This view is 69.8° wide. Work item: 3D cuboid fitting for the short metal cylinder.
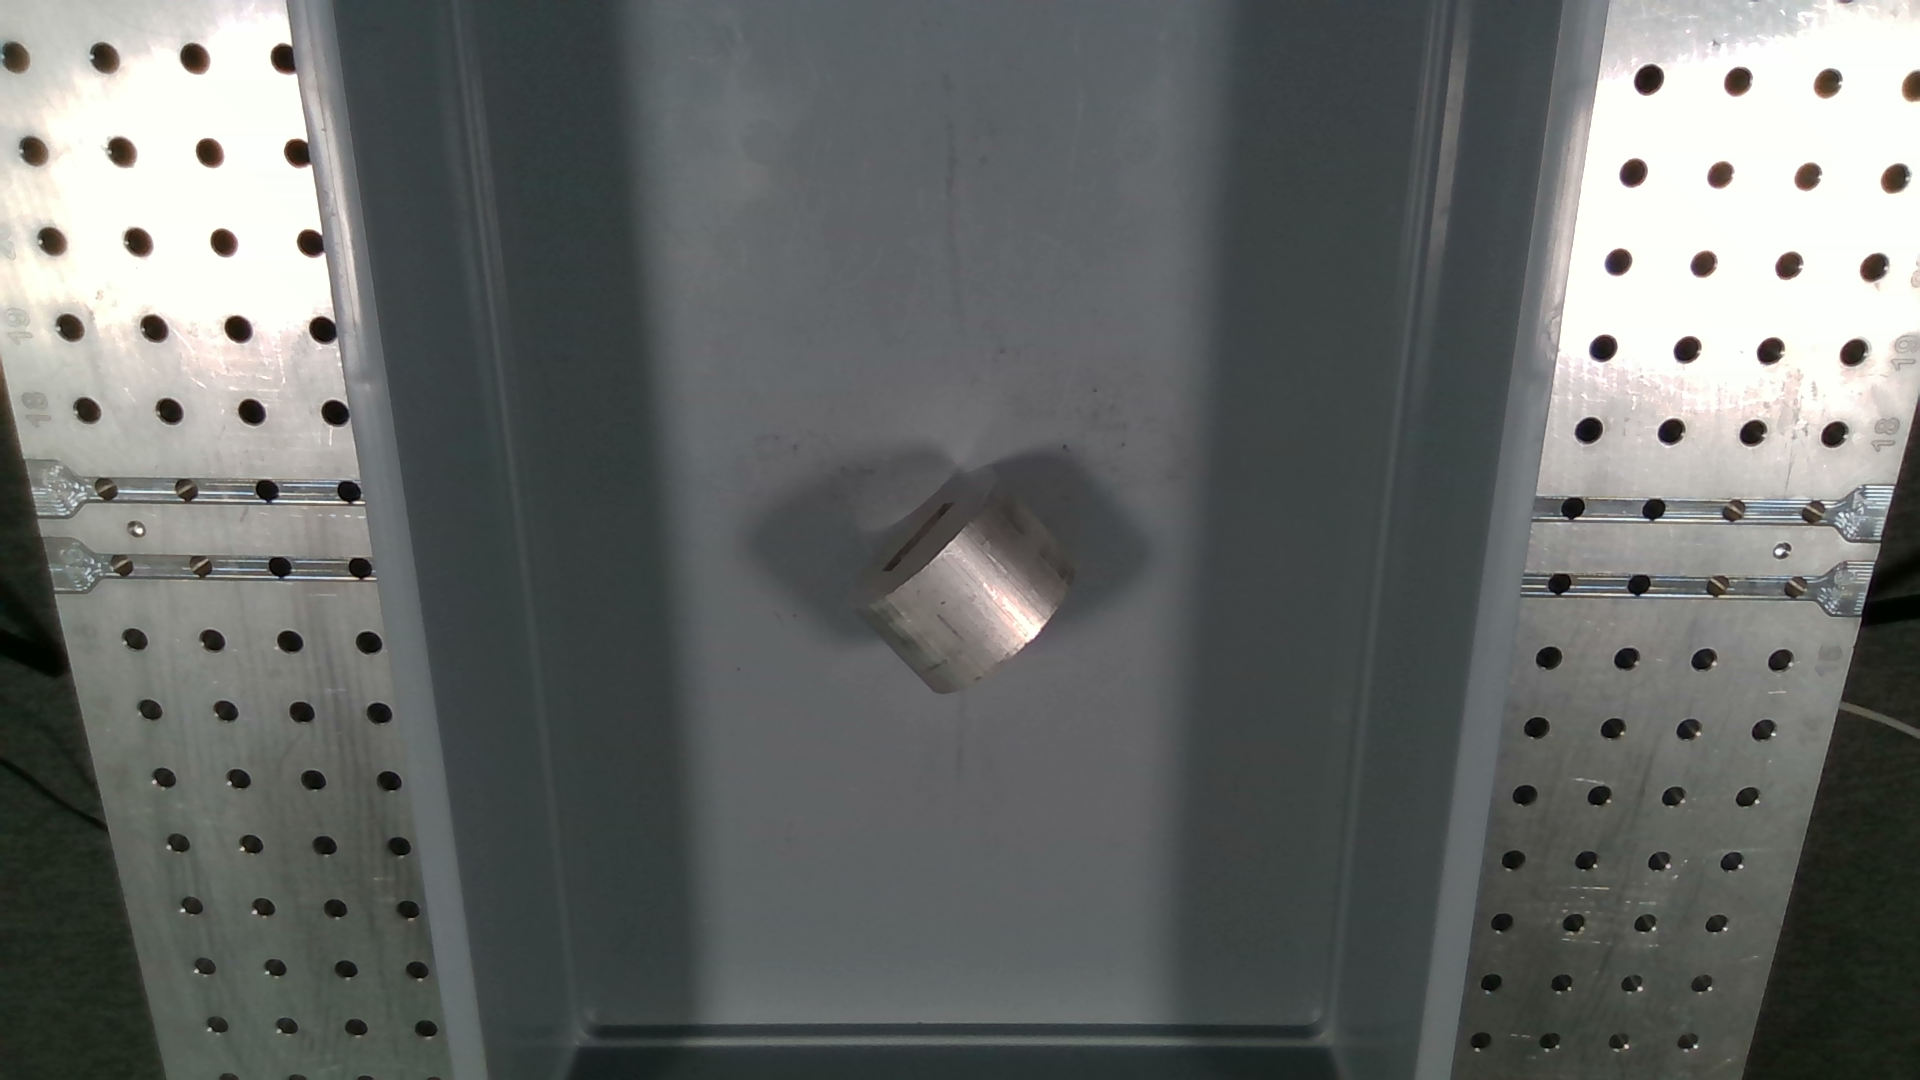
[{"bbox_3d":[0.000,0.016,0.559,0.080,0.080,0.050,-40,105,13],"label":"short metal cylinder"}]
